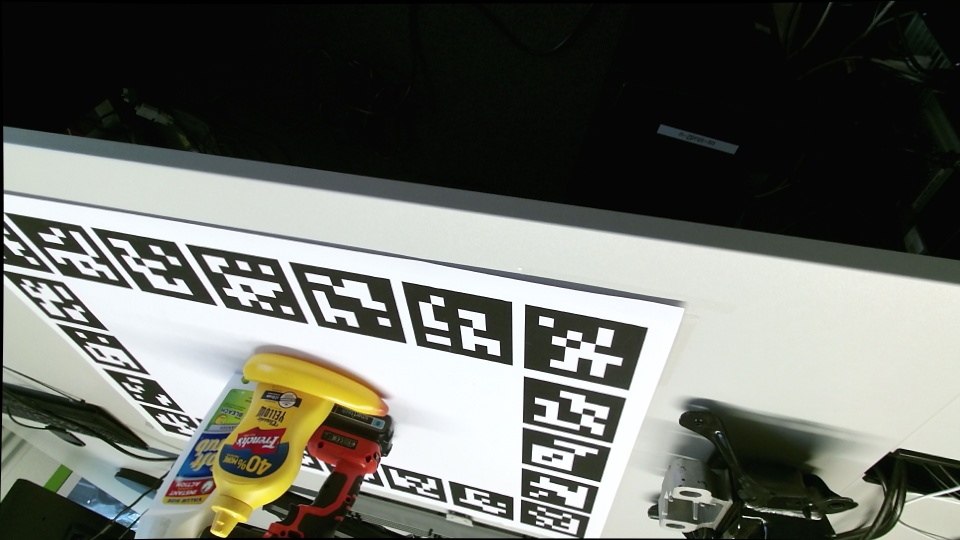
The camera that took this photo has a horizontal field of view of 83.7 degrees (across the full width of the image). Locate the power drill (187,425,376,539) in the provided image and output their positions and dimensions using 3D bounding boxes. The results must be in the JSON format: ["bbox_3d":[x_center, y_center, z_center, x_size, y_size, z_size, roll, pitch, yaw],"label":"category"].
[{"bbox_3d":[-0.222,0.284,0.646,0.185,0.186,0.057,18,138,5],"label":"power drill"}]

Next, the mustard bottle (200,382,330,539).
[{"bbox_3d":[-0.259,0.213,0.618,0.096,0.191,0.058,10,136,13],"label":"mustard bottle"}]

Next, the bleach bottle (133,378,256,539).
[{"bbox_3d":[-0.331,0.260,0.658,0.103,0.249,0.068,11,141,10],"label":"bleach bottle"}]

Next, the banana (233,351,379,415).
[{"bbox_3d":[-0.218,0.137,0.652,0.198,0.038,0.074,11,135,7],"label":"banana"}]
